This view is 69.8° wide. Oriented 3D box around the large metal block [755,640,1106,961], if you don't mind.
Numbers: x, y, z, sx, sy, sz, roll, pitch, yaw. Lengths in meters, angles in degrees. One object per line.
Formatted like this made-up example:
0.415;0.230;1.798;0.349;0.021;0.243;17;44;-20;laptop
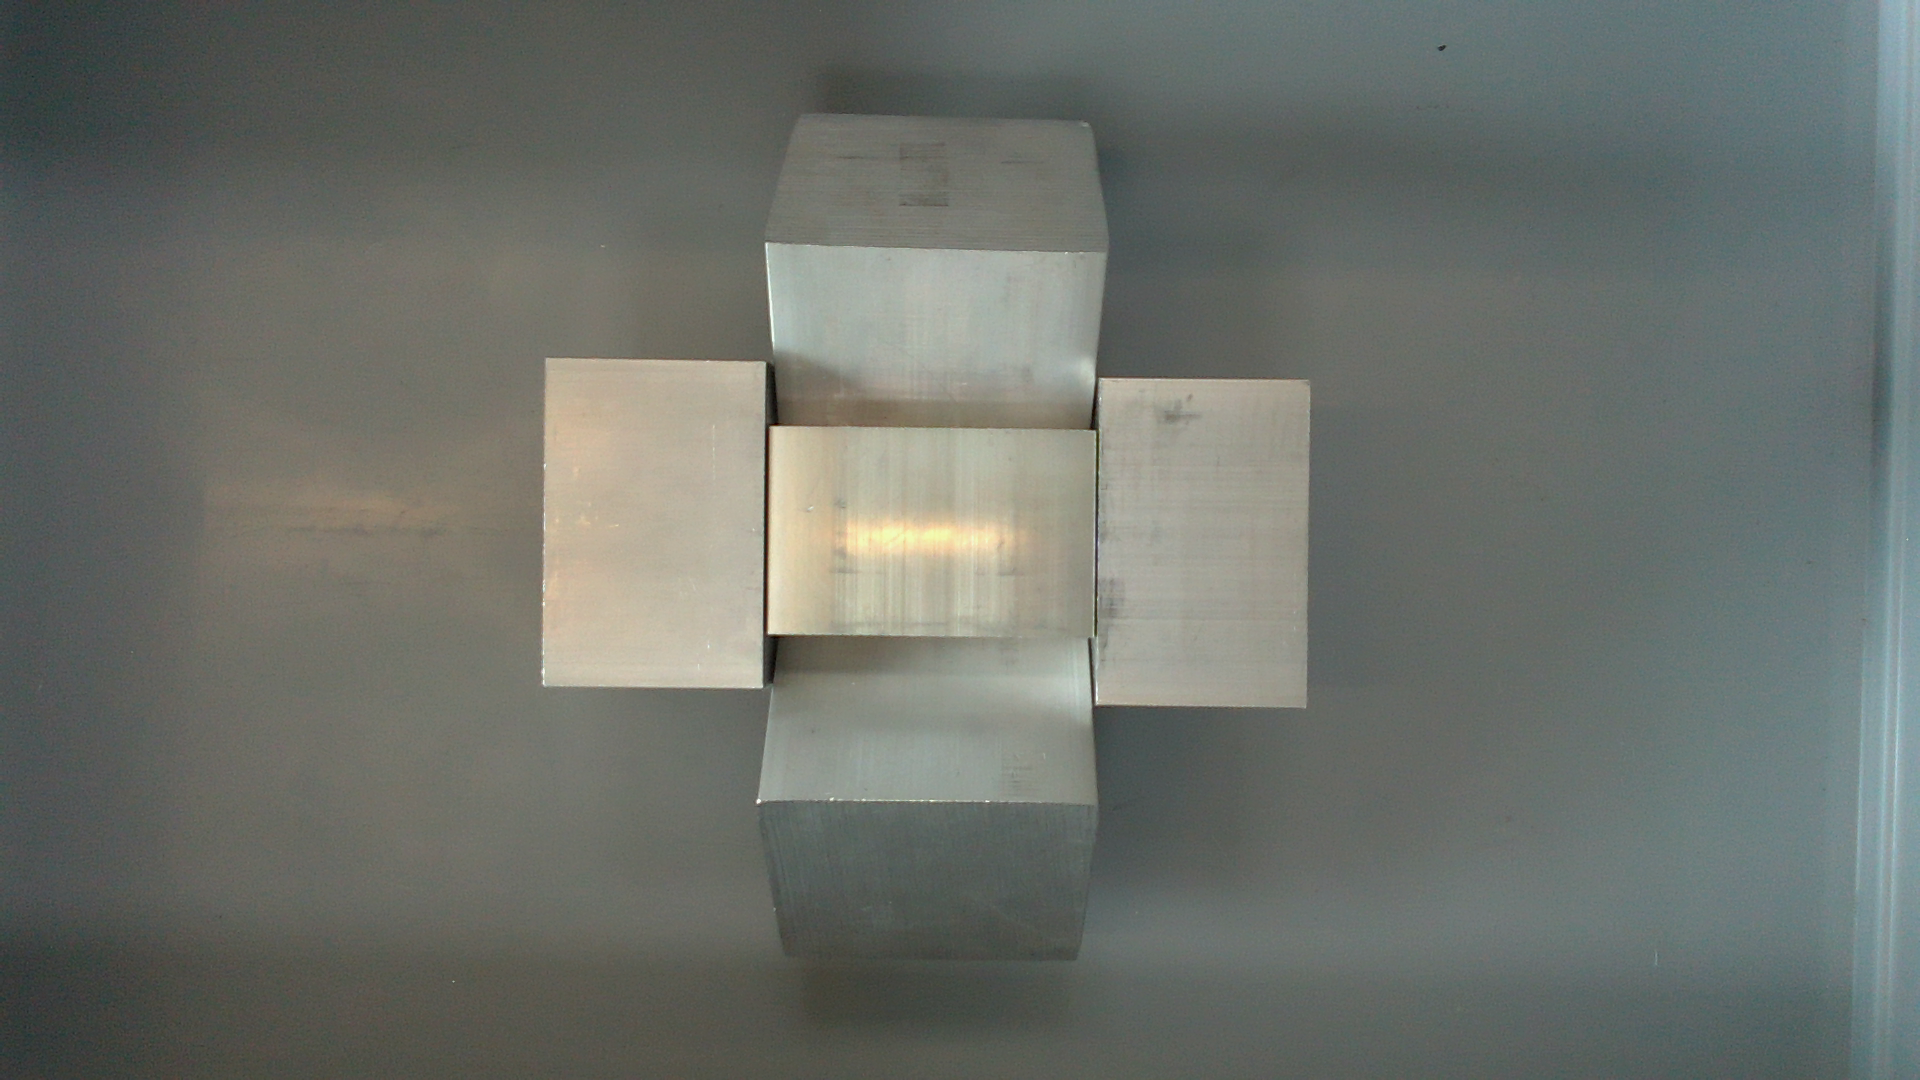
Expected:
-0.008;0.069;0.360;0.080;0.080;0.050;1;48;-1;large metal block

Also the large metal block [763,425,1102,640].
-0.006;-0.002;0.367;0.080;0.080;0.050;1;90;0;large metal block

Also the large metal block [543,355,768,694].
-0.074;-0.004;0.367;0.050;0.080;0.080;1;90;0;large metal block

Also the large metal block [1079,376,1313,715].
0.059;0.001;0.367;0.050;0.080;0.080;1;90;0;large metal block

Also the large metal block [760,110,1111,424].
-0.005;-0.072;0.361;0.080;0.080;0.050;2;128;0;large metal block
